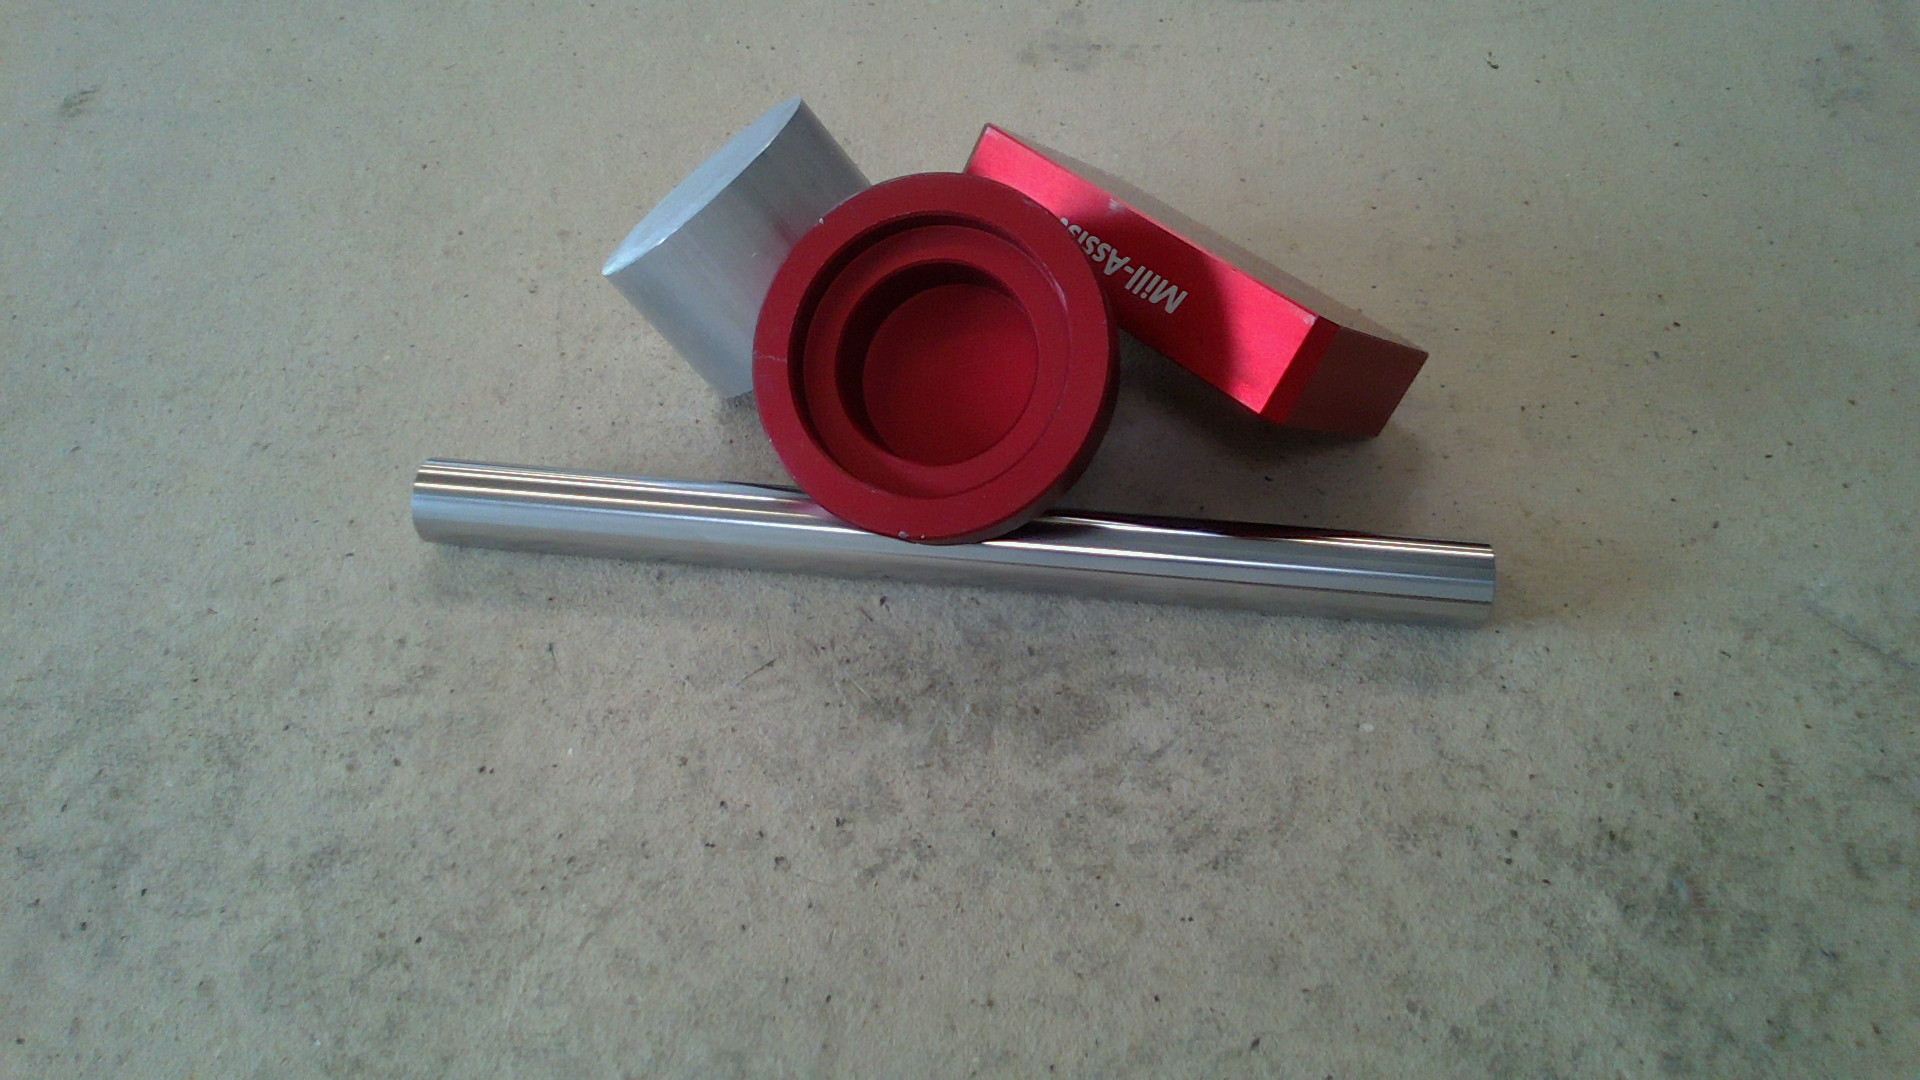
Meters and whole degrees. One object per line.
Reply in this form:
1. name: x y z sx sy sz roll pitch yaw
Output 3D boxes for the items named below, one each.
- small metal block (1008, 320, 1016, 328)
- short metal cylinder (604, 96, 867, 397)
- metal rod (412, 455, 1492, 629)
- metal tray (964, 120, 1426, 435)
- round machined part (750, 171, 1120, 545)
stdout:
1. small metal block: 0.003 -0.064 0.427 0.050 0.050 0.025 19 52 15
2. short metal cylinder: -0.064 -0.090 0.426 0.080 0.050 0.080 -33 26 19
3. metal rod: -0.005 0.000 0.392 0.300 0.025 0.025 5 50 4
4. metal tray: 0.069 -0.080 0.422 0.130 0.030 0.090 38 21 27
5. round machined part: -0.005 -0.047 0.380 0.098 0.042 0.098 -1 84 12
